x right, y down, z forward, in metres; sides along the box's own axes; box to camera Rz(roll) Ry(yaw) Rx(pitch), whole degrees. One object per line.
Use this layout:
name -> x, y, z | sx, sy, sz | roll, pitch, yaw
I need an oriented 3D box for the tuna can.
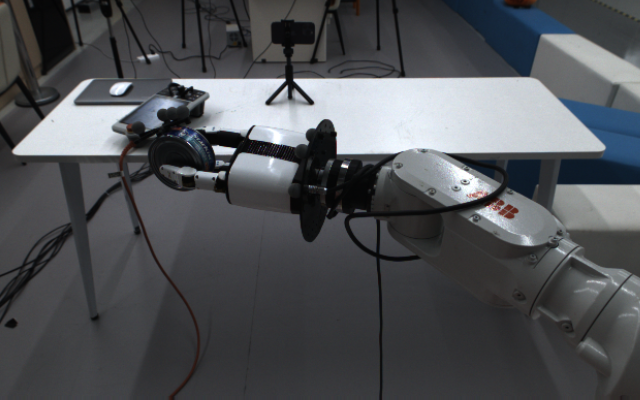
tuna can -> -0.187, -0.055, 0.657 | 0.085, 0.085, 0.034 | 11, 34, 13
